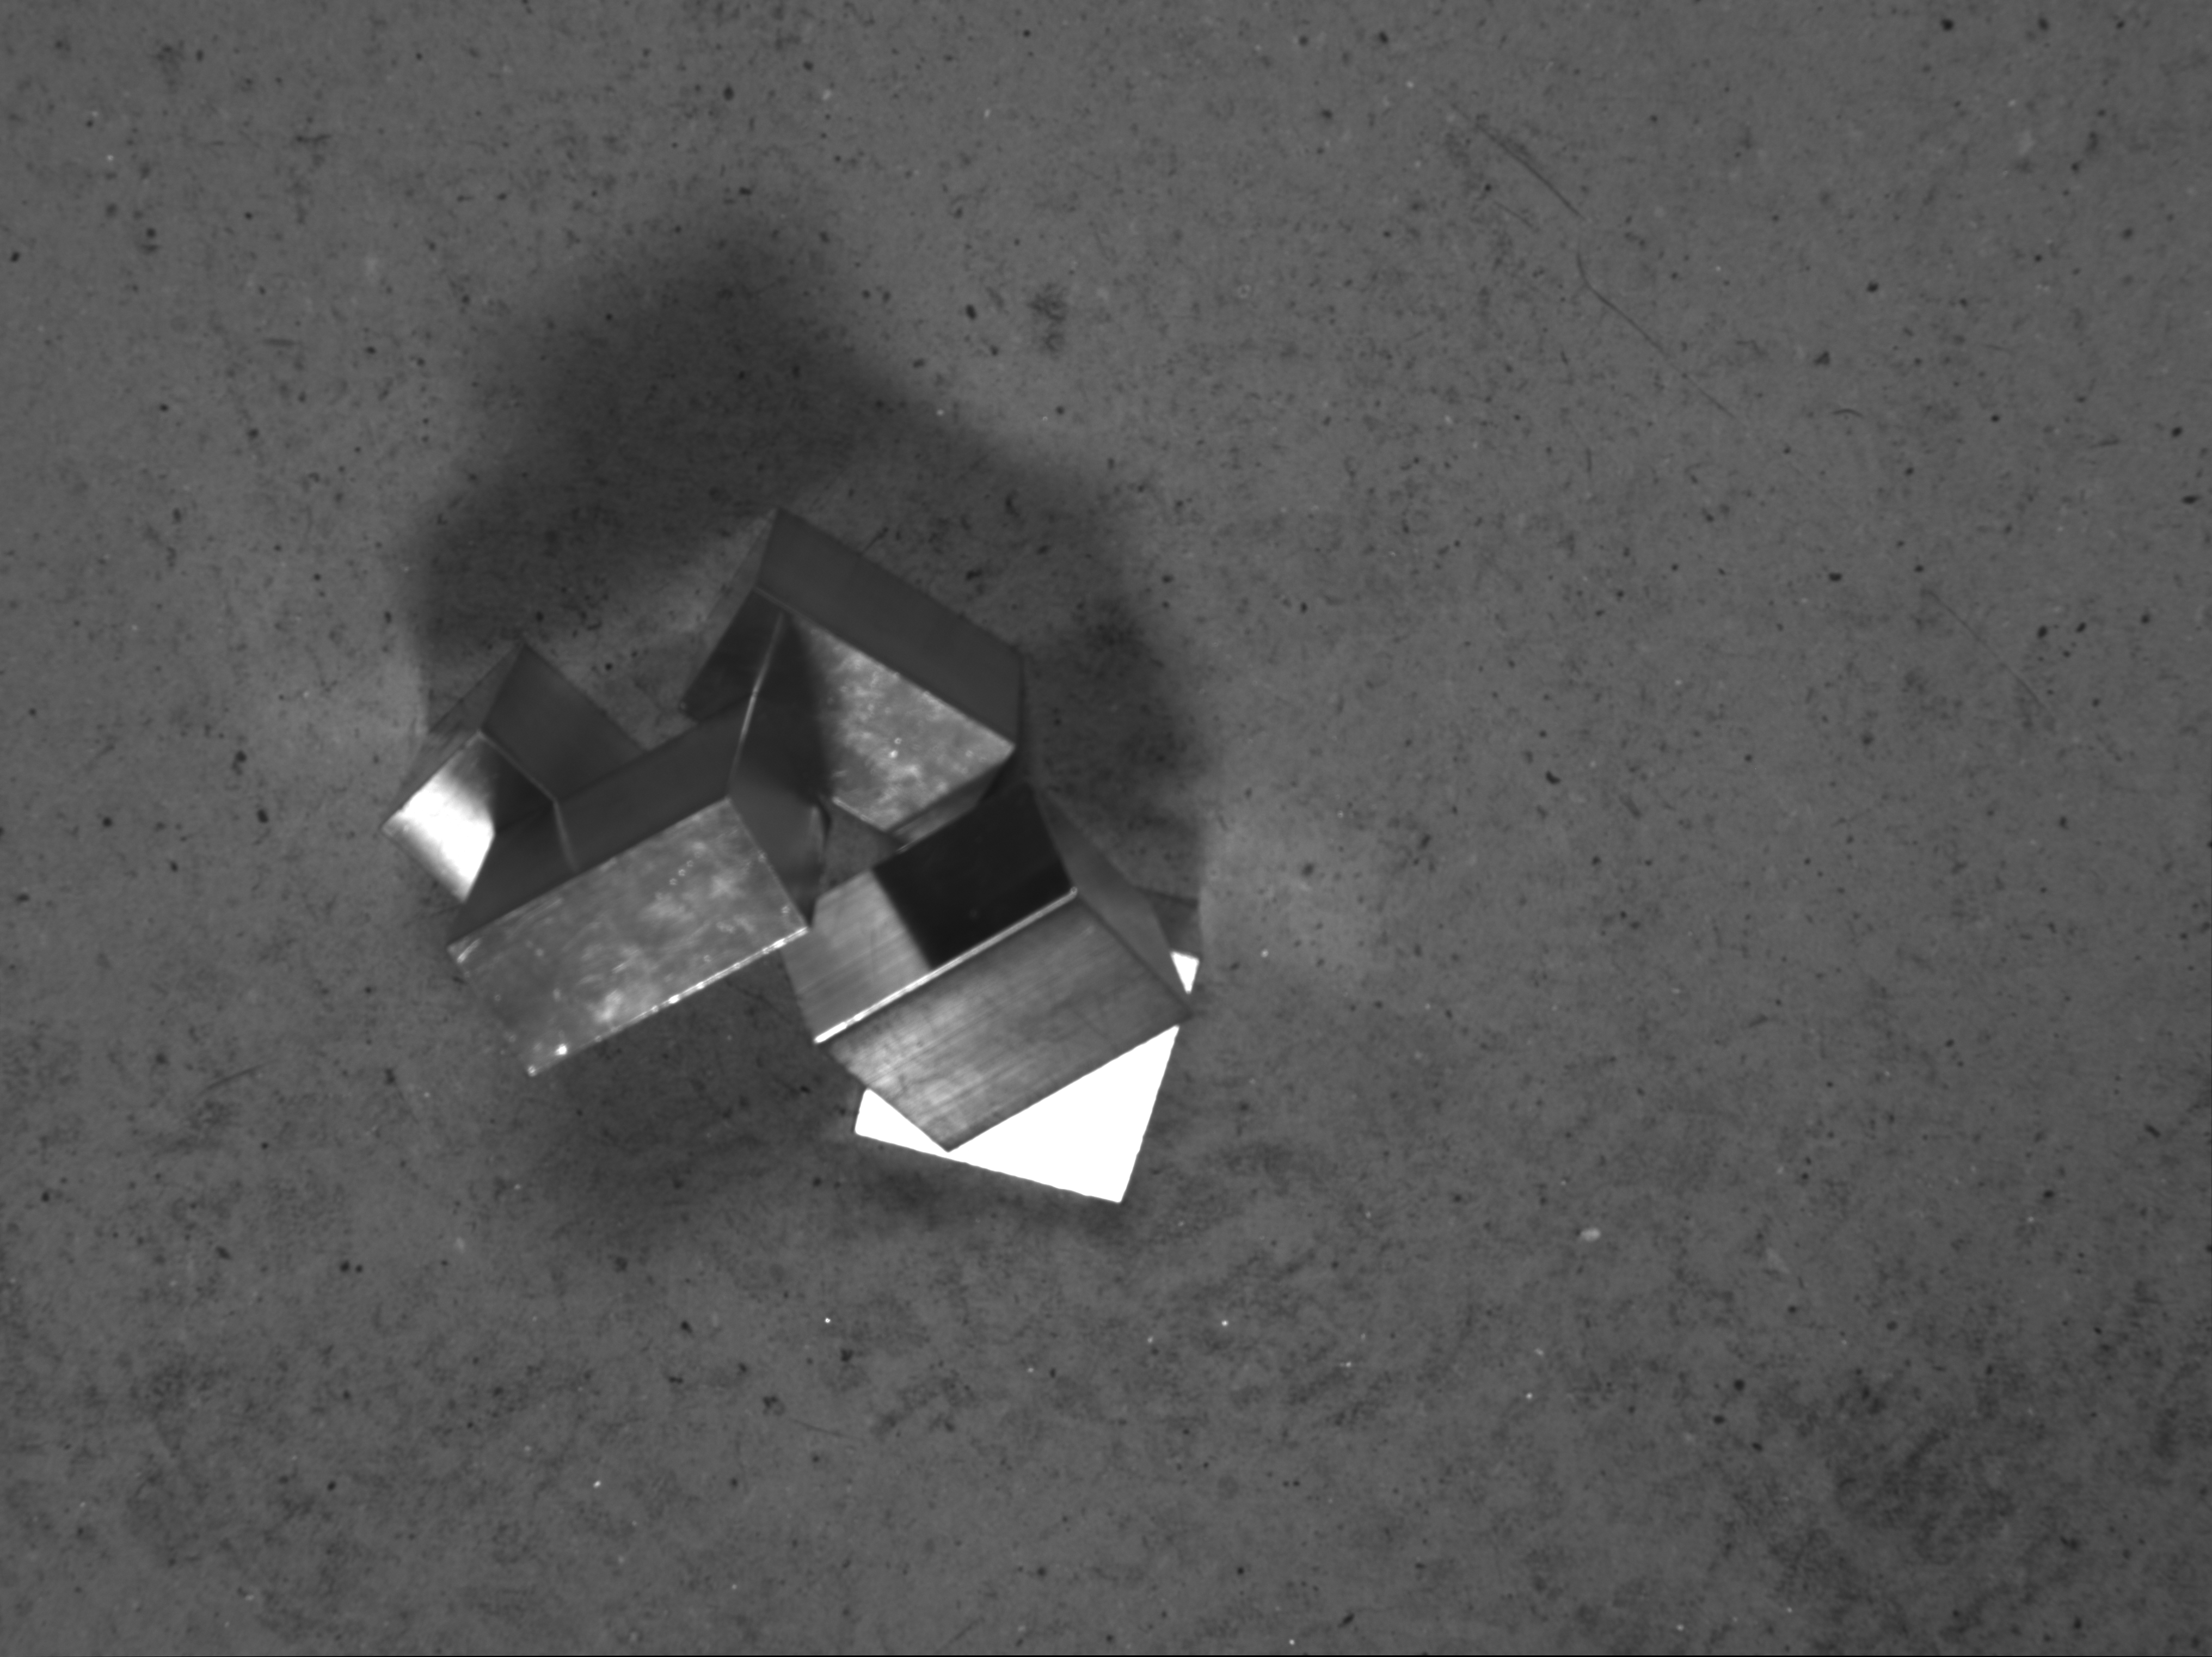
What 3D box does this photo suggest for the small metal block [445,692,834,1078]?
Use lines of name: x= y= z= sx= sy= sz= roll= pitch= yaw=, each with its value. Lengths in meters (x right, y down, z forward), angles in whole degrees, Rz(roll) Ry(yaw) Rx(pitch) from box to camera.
small metal block: x=-0.073 y=0.008 z=0.579 sx=0.050 sy=0.050 sz=0.025 roll=-28 pitch=108 yaw=9

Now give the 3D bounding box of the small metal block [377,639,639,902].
small metal block: x=-0.094 y=0.000 z=0.629 sx=0.025 sy=0.050 sz=0.050 roll=-43 pitch=105 yaw=14

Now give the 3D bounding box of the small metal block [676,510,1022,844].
small metal block: x=-0.042 y=-0.025 z=0.621 sx=0.050 sy=0.050 sz=0.025 roll=31 pitch=107 yaw=-11

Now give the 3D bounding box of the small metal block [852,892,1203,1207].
small metal block: x=-0.014 y=0.034 z=0.656 sx=0.050 sy=0.025 sz=0.050 roll=15 pitch=109 yaw=-6

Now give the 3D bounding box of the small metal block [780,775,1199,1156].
small metal block: x=-0.020 y=0.024 z=0.612 sx=0.050 sy=0.025 sz=0.050 roll=-30 pitch=145 yaw=10
